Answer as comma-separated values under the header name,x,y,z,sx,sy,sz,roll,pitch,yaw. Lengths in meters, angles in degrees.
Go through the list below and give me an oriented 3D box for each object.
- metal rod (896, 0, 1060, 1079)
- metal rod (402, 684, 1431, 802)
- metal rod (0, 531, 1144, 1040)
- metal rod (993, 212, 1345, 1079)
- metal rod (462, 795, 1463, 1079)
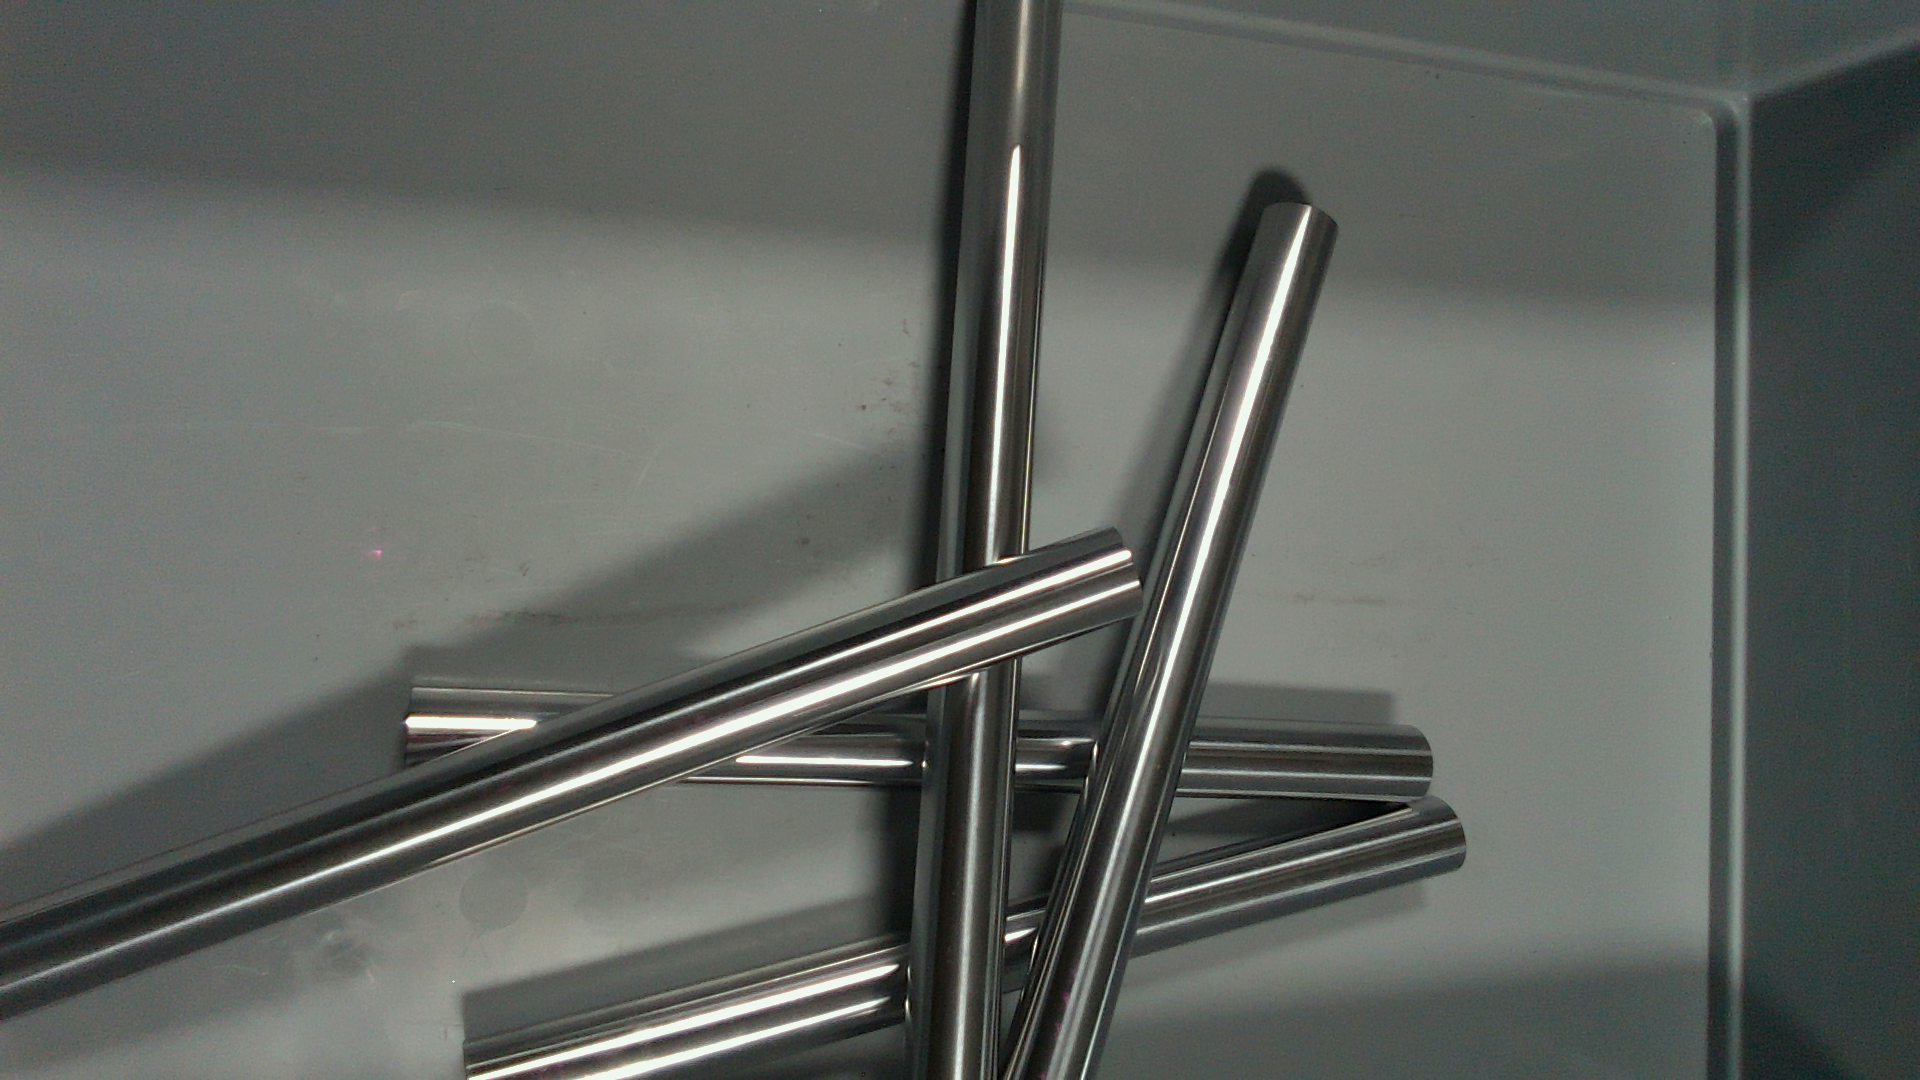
name,x,y,z,sx,sy,sz,roll,pitch,yaw
metal rod,0.006,-0.010,0.376,0.025,0.025,0.300,7,81,-20
metal rod,0.003,0.060,0.393,0.301,0.025,0.025,5,88,-20
metal rod,-0.095,0.057,0.331,0.301,0.025,0.025,-19,96,-13
metal rod,0.058,0.040,0.392,0.025,0.025,0.300,25,74,-18
metal rod,0.016,0.117,0.398,0.301,0.025,0.025,-9,93,-20
